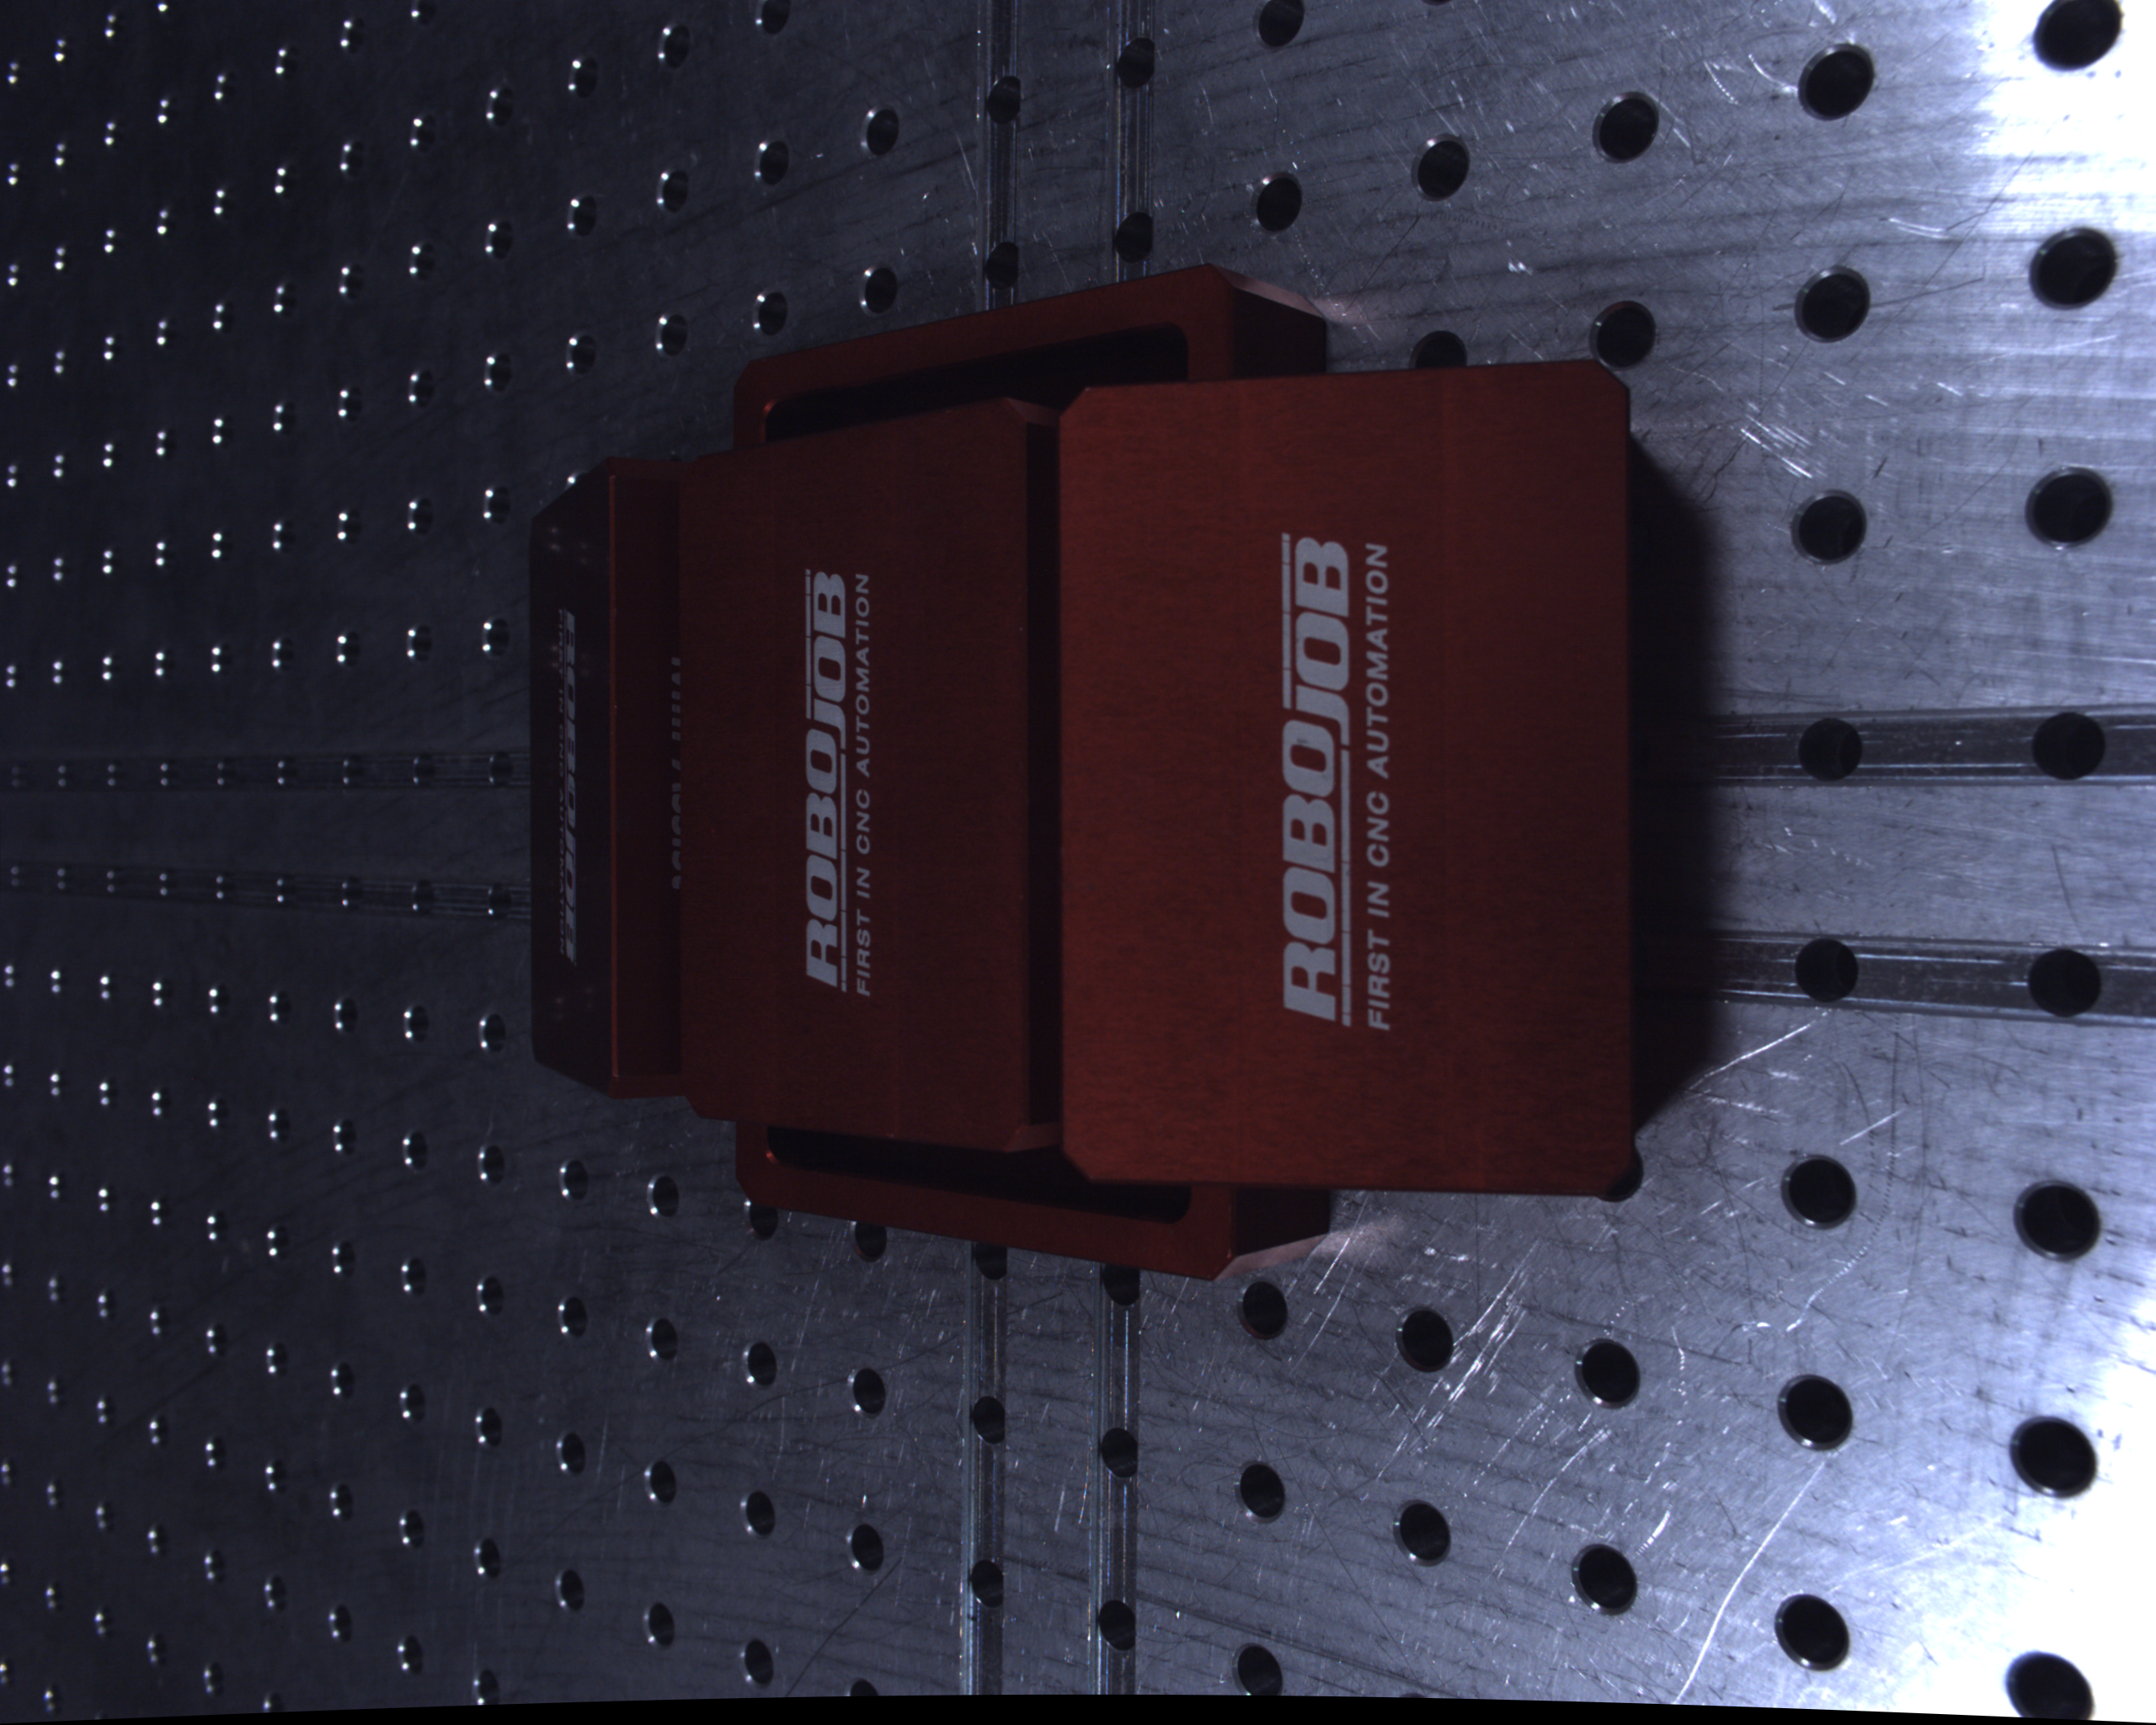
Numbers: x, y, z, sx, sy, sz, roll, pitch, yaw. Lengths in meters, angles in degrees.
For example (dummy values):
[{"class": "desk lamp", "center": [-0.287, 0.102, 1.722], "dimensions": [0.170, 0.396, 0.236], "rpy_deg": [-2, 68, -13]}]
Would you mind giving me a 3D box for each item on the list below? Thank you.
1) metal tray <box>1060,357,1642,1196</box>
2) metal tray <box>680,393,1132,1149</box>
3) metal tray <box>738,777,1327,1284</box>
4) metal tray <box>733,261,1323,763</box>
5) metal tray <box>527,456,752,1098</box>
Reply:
[{"class": "metal tray", "center": [0.045, -0.013, 0.343], "dimensions": [0.090, 0.030, 0.129], "rpy_deg": [-1, 90, 12]}, {"class": "metal tray", "center": [-0.034, -0.016, 0.392], "dimensions": [0.090, 0.030, 0.129], "rpy_deg": [0, 90, 39]}, {"class": "metal tray", "center": [-0.013, 0.029, 0.415], "dimensions": [0.130, 0.030, 0.089], "rpy_deg": [1, 91, 39]}, {"class": "metal tray", "center": [-0.014, -0.062, 0.415], "dimensions": [0.130, 0.030, 0.089], "rpy_deg": [1, 91, 39]}, {"class": "metal tray", "center": [-0.098, -0.017, 0.461], "dimensions": [0.090, 0.030, 0.129], "rpy_deg": [180, 90, -65]}]
